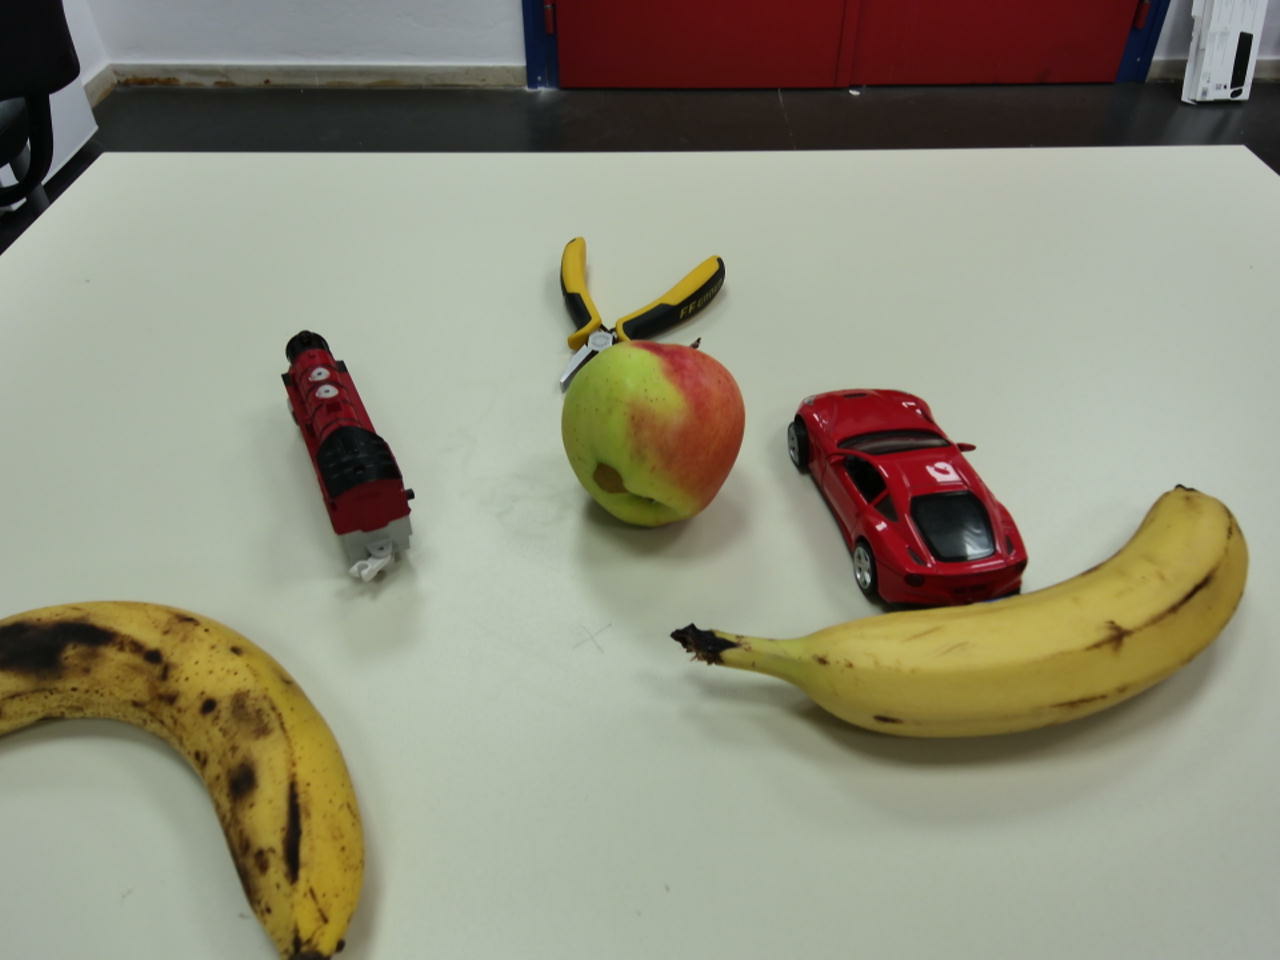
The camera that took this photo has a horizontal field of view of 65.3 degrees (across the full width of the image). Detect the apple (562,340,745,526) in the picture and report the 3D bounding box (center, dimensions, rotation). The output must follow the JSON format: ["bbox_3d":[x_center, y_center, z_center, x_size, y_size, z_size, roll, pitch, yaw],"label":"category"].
[{"bbox_3d":[0.006,-0.020,0.405,0.075,0.074,0.075,-11,40,-15],"label":"apple"}]
